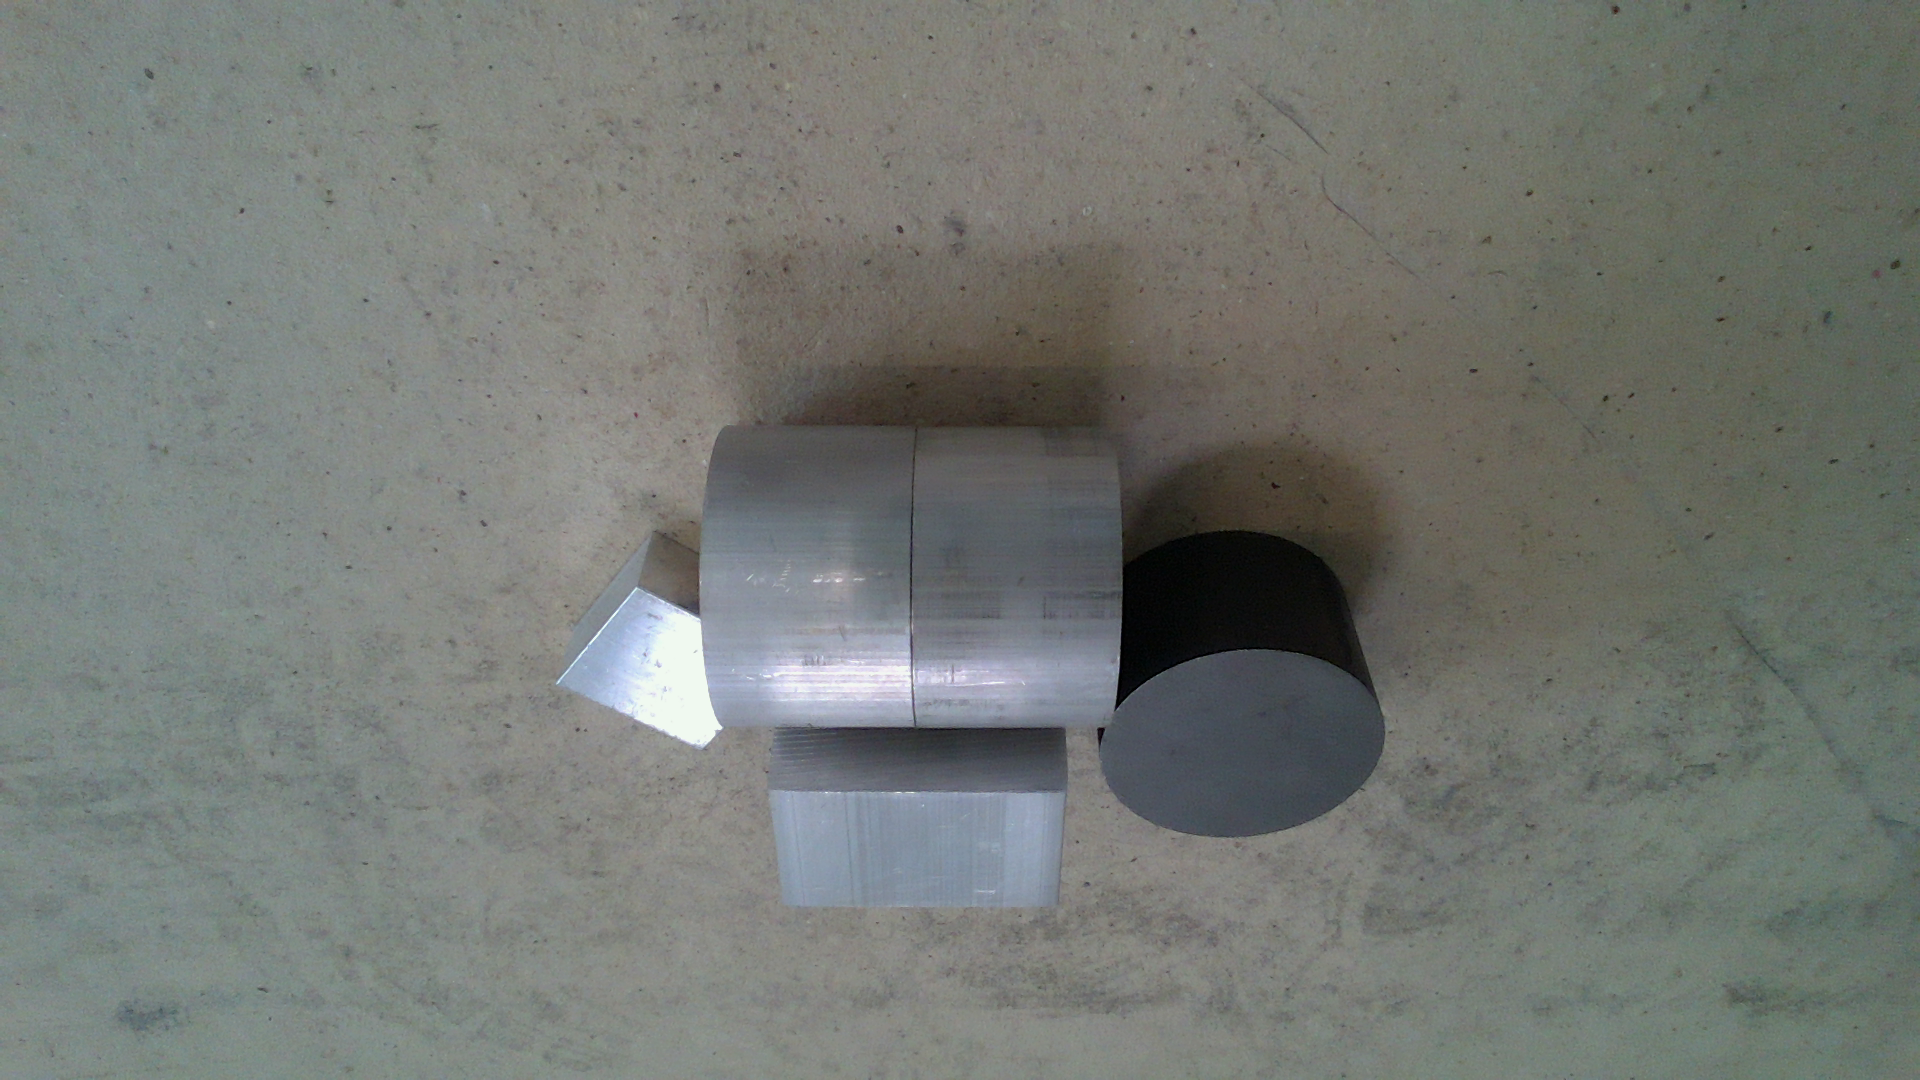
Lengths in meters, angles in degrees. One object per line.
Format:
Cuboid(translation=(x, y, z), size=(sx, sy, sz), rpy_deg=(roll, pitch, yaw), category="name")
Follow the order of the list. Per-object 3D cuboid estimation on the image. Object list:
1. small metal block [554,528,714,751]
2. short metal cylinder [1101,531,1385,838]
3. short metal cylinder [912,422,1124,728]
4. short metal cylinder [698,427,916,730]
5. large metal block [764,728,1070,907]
Cuboid(translation=(-0.086, 0.031, 0.417), size=(0.050, 0.025, 0.050), rpy_deg=(30, 124, -23), category="small metal block")
Cuboid(translation=(0.080, 0.044, 0.411), size=(0.080, 0.050, 0.080), rpy_deg=(0, 130, 0), category="short metal cylinder")
Cuboid(translation=(0.014, 0.009, 0.363), size=(0.050, 0.080, 0.080), rpy_deg=(0, 130, 0), category="short metal cylinder")
Cuboid(translation=(-0.037, 0.010, 0.363), size=(0.050, 0.080, 0.080), rpy_deg=(0, 130, 0), category="short metal cylinder")
Cuboid(translation=(-0.011, 0.059, 0.406), size=(0.080, 0.080, 0.050), rpy_deg=(0, 130, -1), category="large metal block")
